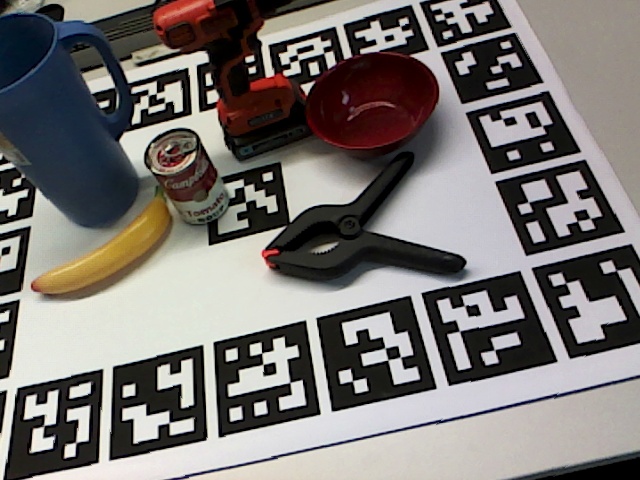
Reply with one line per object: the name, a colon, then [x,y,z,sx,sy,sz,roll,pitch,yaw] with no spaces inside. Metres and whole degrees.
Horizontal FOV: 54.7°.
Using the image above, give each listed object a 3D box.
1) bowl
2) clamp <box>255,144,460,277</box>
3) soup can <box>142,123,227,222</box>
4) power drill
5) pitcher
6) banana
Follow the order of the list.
bowl: [0.057,-0.158,0.758,0.162,0.055,0.162,-7,58,11]
clamp: [0.028,-0.013,0.675,0.203,0.036,0.166,-17,59,3]
soup can: [-0.159,-0.079,0.737,0.068,0.101,0.068,-10,48,10]
power drill: [-0.075,-0.221,0.732,0.184,0.186,0.057,-19,55,1]
pitcher: [-0.300,-0.135,0.725,0.188,0.241,0.134,-35,53,-9]
banana: [-0.263,0.011,0.746,0.197,0.038,0.075,-35,48,-11]
